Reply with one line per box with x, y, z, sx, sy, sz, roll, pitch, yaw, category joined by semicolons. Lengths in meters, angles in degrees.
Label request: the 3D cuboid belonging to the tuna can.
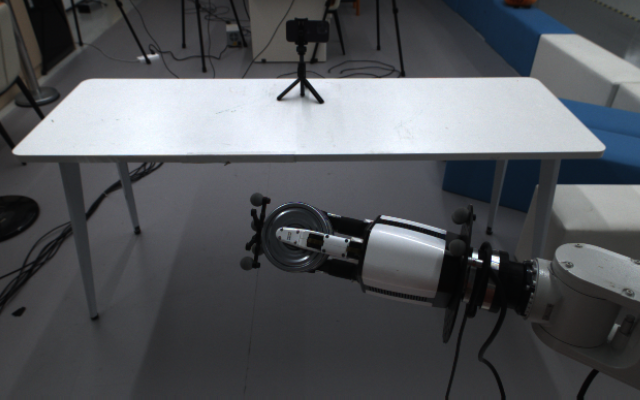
-0.024;0.048;0.586;0.085;0.085;0.034;9;-6;10;tuna can
